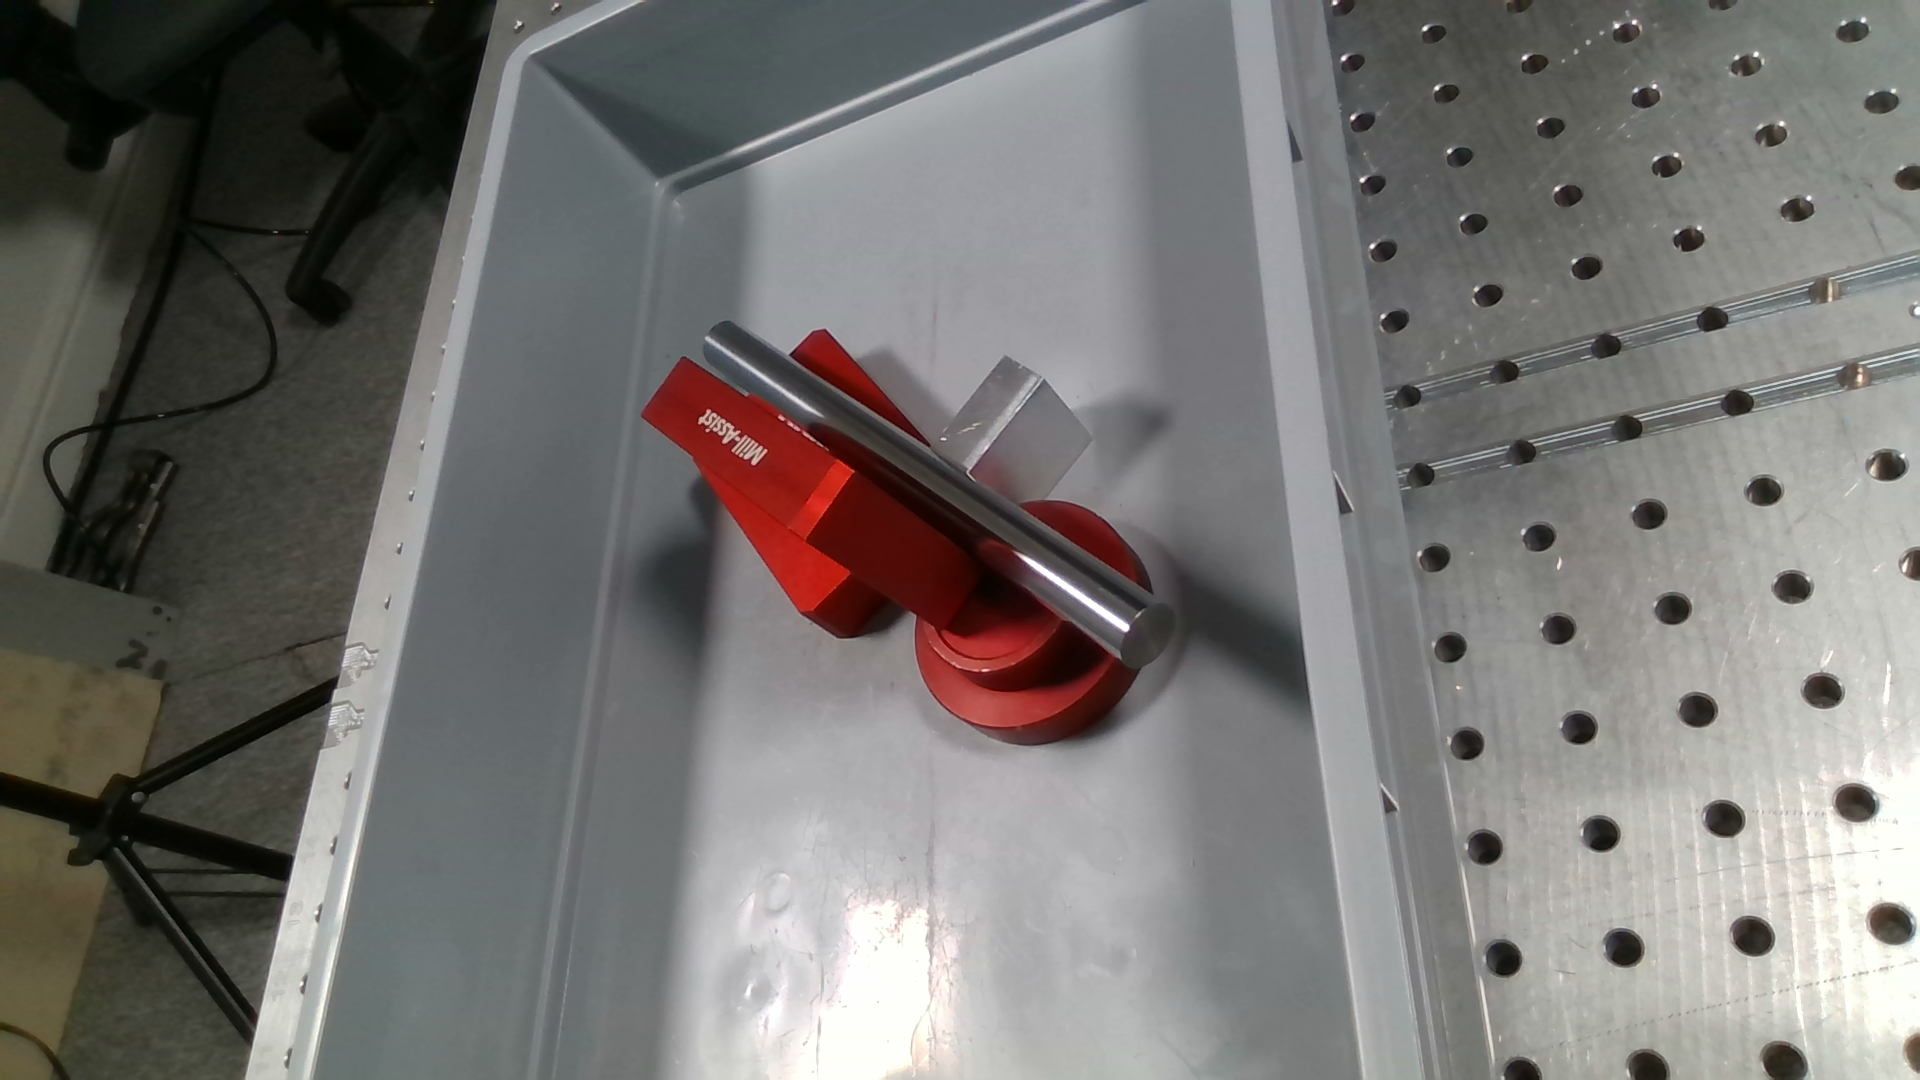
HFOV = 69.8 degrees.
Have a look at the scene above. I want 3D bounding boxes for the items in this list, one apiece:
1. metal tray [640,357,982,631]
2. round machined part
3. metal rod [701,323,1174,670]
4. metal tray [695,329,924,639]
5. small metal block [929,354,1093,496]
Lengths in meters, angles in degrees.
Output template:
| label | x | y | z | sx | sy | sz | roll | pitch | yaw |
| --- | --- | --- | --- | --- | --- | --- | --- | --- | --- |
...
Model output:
| label | x | y | z | sx | sy | sz | roll | pitch | yaw |
| --- | --- | --- | --- | --- | --- | --- | --- | --- | --- |
| metal tray | -0.059 | -0.019 | 0.540 | 0.130 | 0.090 | 0.030 | 34 | 88 | 45 |
| round machined part | 0.023 | 0.028 | 0.544 | 0.098 | 0.042 | 0.098 | -14 | 59 | 25 |
| metal rod | -0.026 | -0.031 | 0.566 | 0.025 | 0.025 | 0.299 | -52 | 47 | -2 |
| metal tray | -0.060 | -0.028 | 0.633 | 0.090 | 0.030 | 0.130 | -44 | 51 | 4 |
| small metal block | 0.022 | -0.041 | 0.576 | 0.050 | 0.050 | 0.025 | -51 | 51 | -2 |
